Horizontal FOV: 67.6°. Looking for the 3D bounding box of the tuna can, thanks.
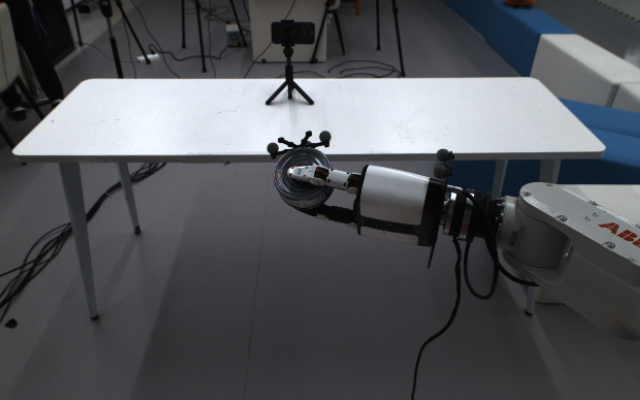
[{"bbox_3d":[-0.019,-0.027,0.687,0.085,0.034,0.085,-4,68,9],"label":"tuna can"}]
